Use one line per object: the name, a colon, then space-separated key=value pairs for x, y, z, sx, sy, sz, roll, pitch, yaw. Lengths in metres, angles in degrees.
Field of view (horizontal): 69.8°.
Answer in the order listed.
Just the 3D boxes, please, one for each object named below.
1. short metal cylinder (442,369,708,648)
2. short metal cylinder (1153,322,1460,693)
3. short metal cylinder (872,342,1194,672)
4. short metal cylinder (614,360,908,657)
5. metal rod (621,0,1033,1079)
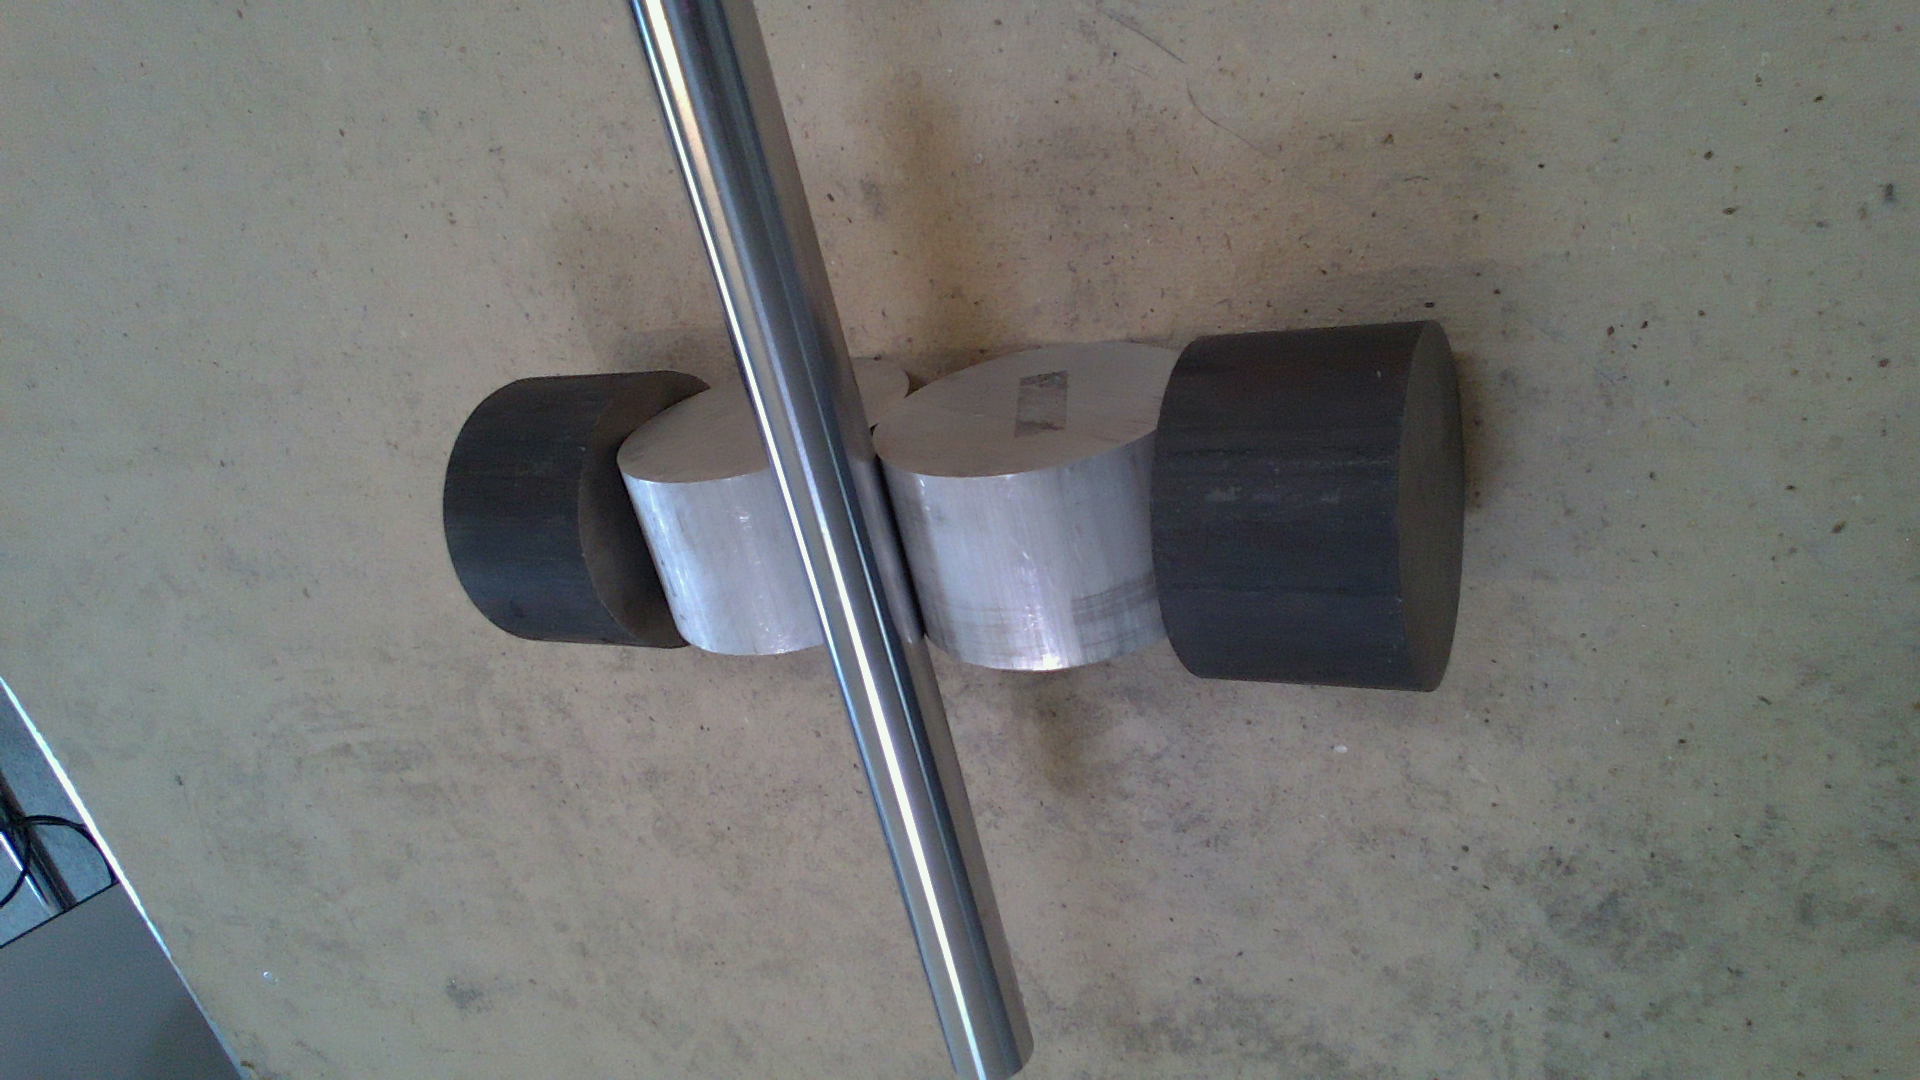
short metal cylinder: x=-0.104 y=-0.009 z=0.408 sx=0.050 sy=0.080 sz=0.080 roll=1 pitch=119 yaw=28
short metal cylinder: x=0.081 y=-0.007 z=0.310 sx=0.050 sy=0.080 sz=0.080 roll=1 pitch=119 yaw=28
short metal cylinder: x=0.022 y=-0.011 z=0.339 sx=0.080 sy=0.080 sz=0.050 roll=1 pitch=119 yaw=28
short metal cylinder: x=-0.047 y=-0.011 z=0.376 sx=0.080 sy=0.080 sz=0.050 roll=1 pitch=119 yaw=28
metal rod: x=-0.024 y=0.017 z=0.336 sx=0.025 sy=0.025 sz=0.300 roll=1 pitch=119 yaw=28
